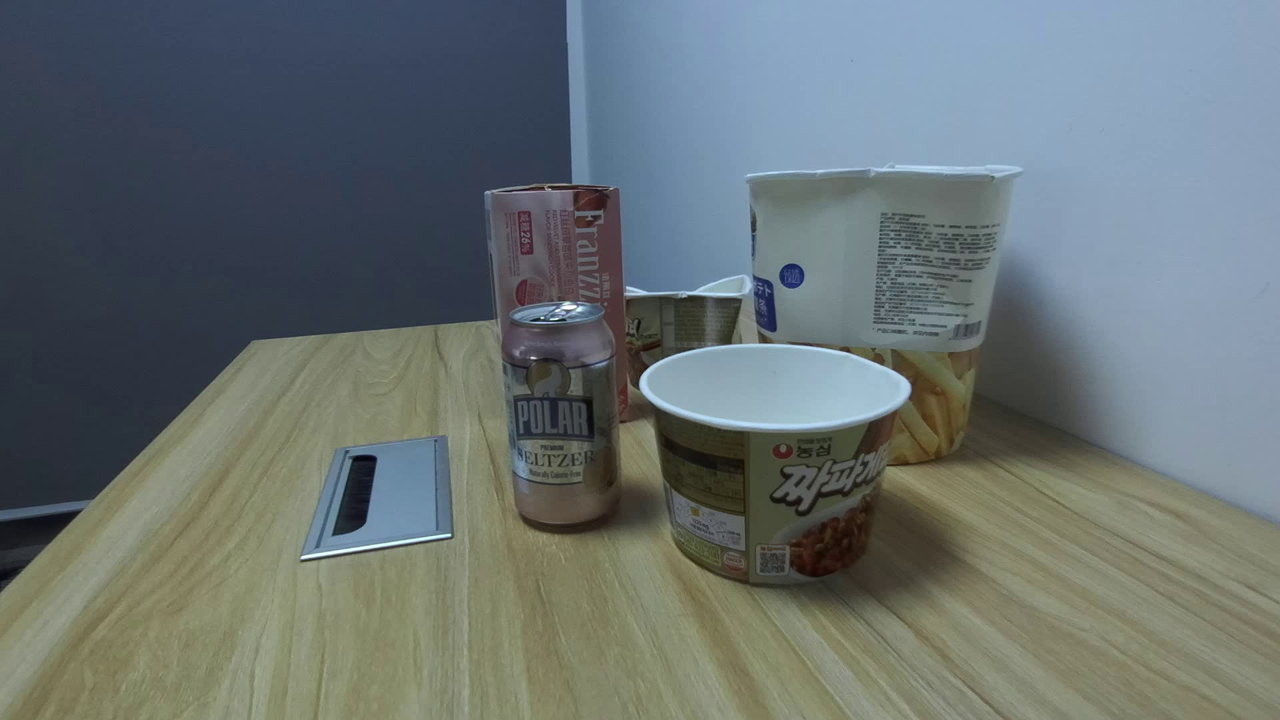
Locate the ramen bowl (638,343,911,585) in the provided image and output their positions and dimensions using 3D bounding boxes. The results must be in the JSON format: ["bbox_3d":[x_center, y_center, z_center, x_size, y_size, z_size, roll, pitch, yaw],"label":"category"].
[{"bbox_3d":[0.070,0.053,0.387,0.140,0.095,0.140,-2,16,1],"label":"ramen bowl"}]

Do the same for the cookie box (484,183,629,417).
[{"bbox_3d":[-0.059,-0.042,0.556,0.105,0.187,0.048,-7,16,-16],"label":"cookie box"}]

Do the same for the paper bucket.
[{"bbox_3d":[0.174,-0.045,0.529,0.168,0.202,0.163,8,18,21],"label":"paper bucket"}]

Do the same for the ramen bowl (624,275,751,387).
[{"bbox_3d":[0.038,-0.027,0.660,0.128,0.093,0.111,0,18,7],"label":"ramen bowl"}]
